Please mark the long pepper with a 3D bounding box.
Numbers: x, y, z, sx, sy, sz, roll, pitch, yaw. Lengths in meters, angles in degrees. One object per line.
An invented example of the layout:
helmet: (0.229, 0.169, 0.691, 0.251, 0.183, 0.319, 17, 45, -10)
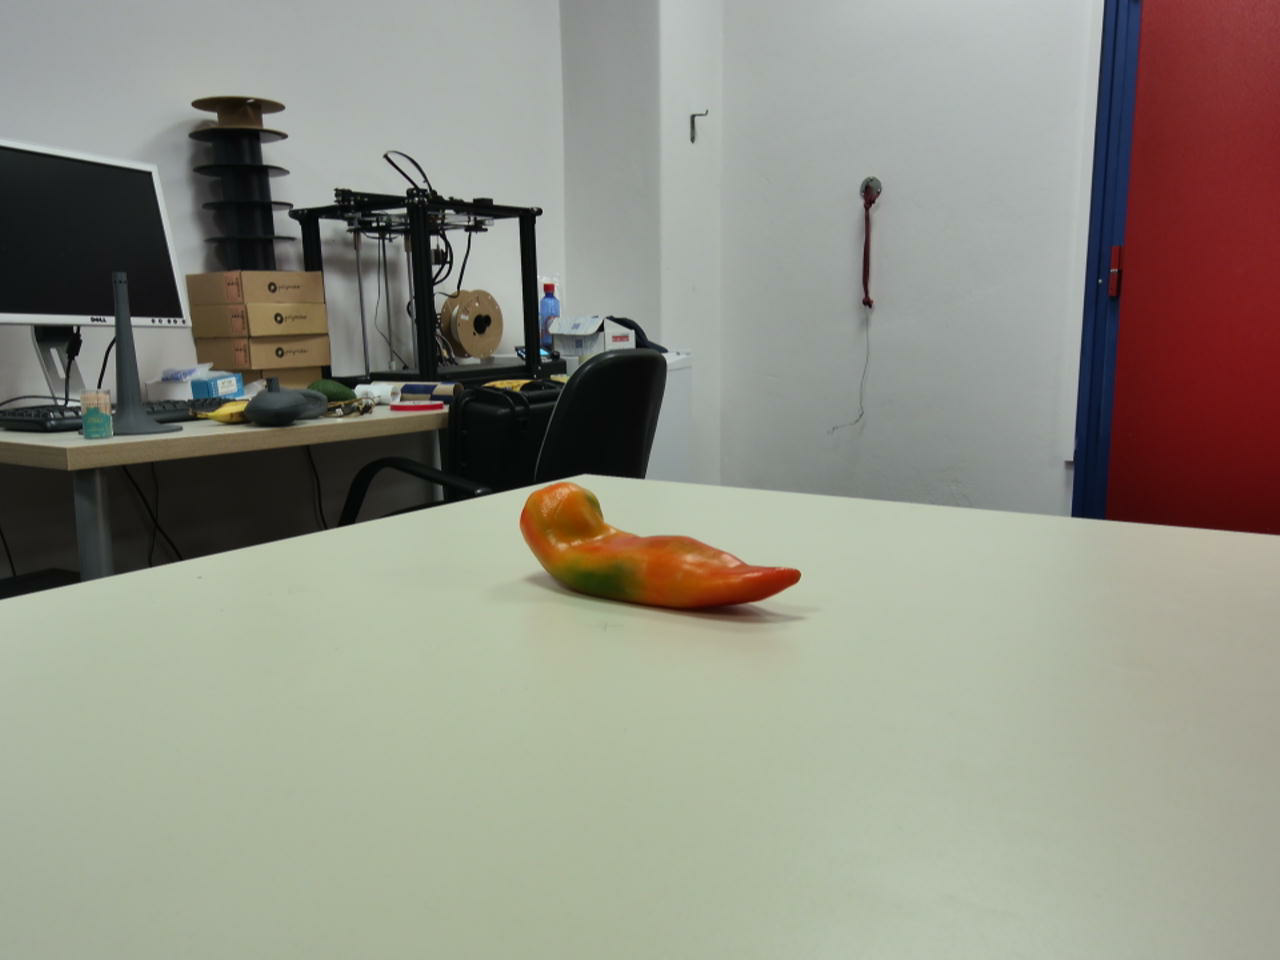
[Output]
long pepper: (0.005, 0.040, 0.611, 0.199, 0.065, 0.066, 7, 9, 40)
